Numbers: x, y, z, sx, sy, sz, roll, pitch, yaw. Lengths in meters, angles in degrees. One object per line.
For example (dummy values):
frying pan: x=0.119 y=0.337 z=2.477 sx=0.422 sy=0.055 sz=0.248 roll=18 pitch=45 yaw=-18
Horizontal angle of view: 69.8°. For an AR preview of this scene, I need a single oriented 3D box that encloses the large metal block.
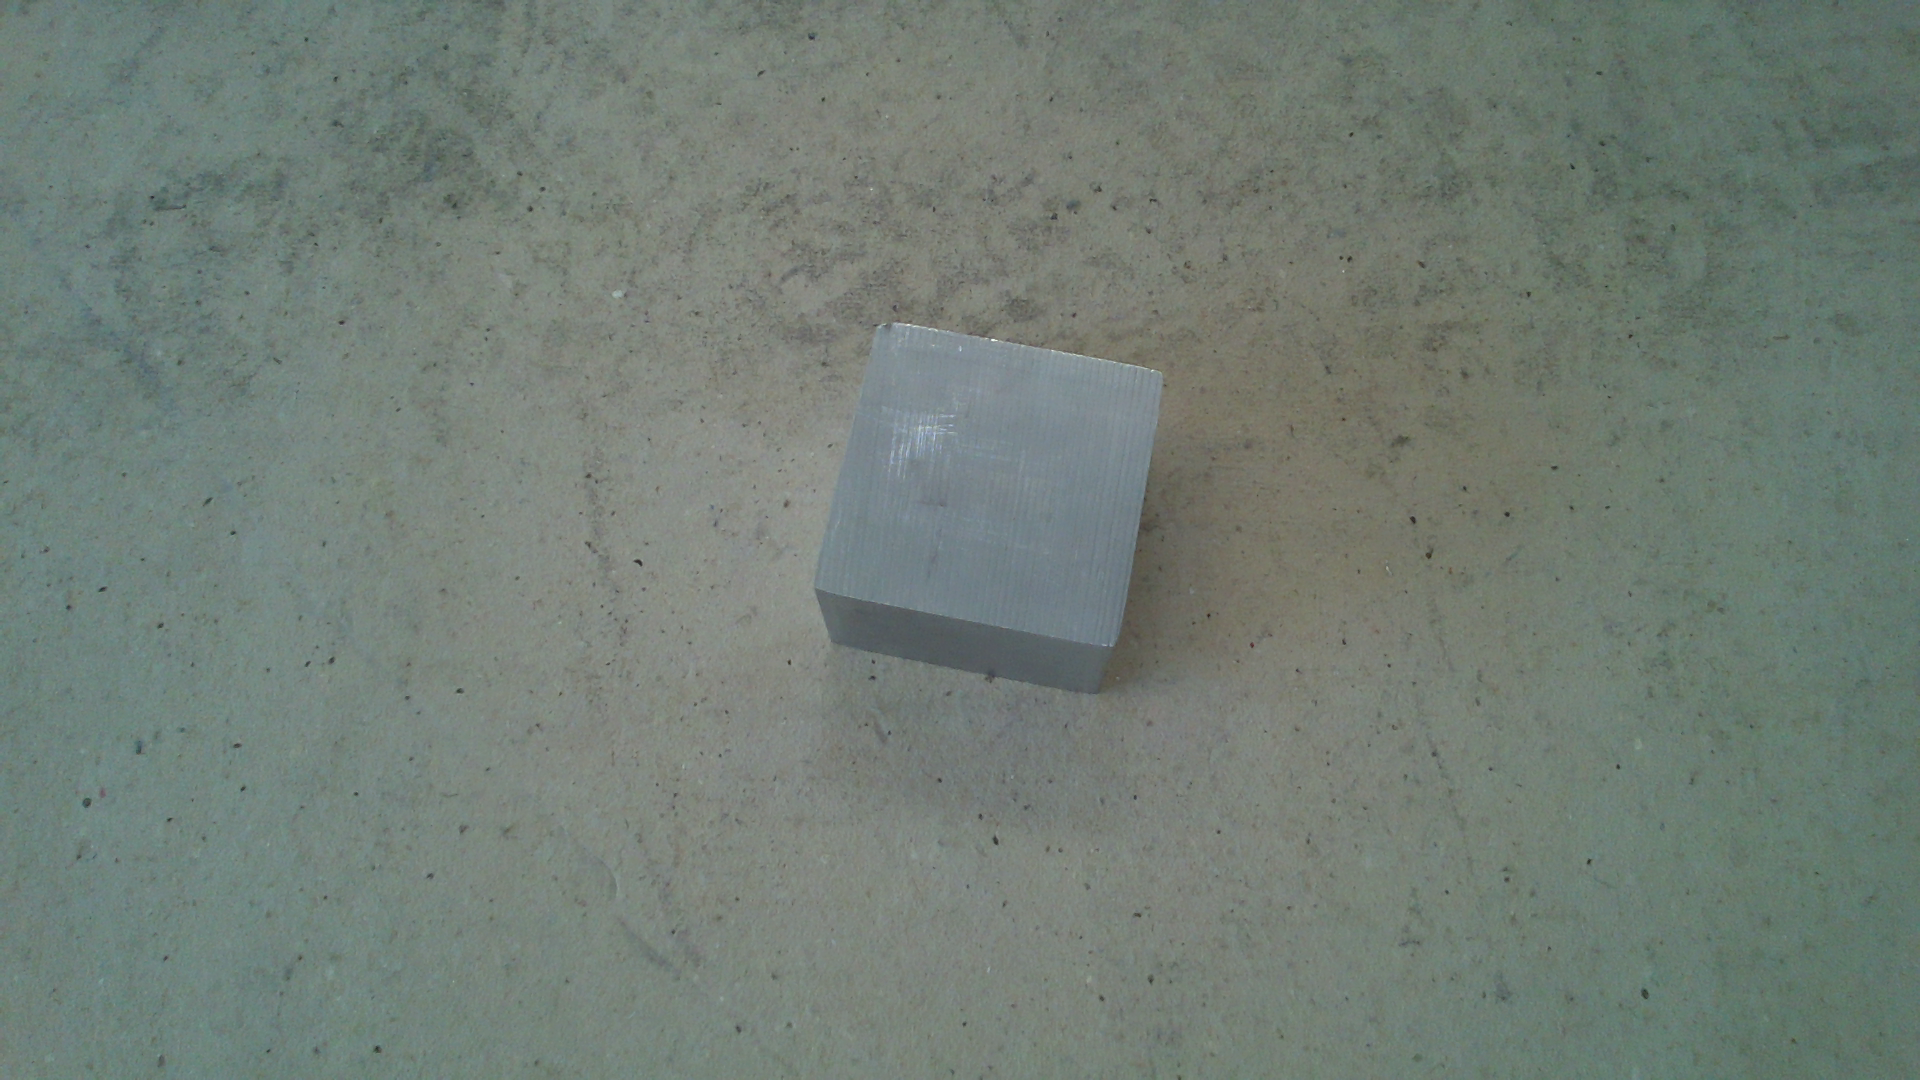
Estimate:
large metal block: x=0.008 y=-0.008 z=0.384 sx=0.080 sy=0.050 sz=0.080 roll=11 pitch=71 yaw=3
